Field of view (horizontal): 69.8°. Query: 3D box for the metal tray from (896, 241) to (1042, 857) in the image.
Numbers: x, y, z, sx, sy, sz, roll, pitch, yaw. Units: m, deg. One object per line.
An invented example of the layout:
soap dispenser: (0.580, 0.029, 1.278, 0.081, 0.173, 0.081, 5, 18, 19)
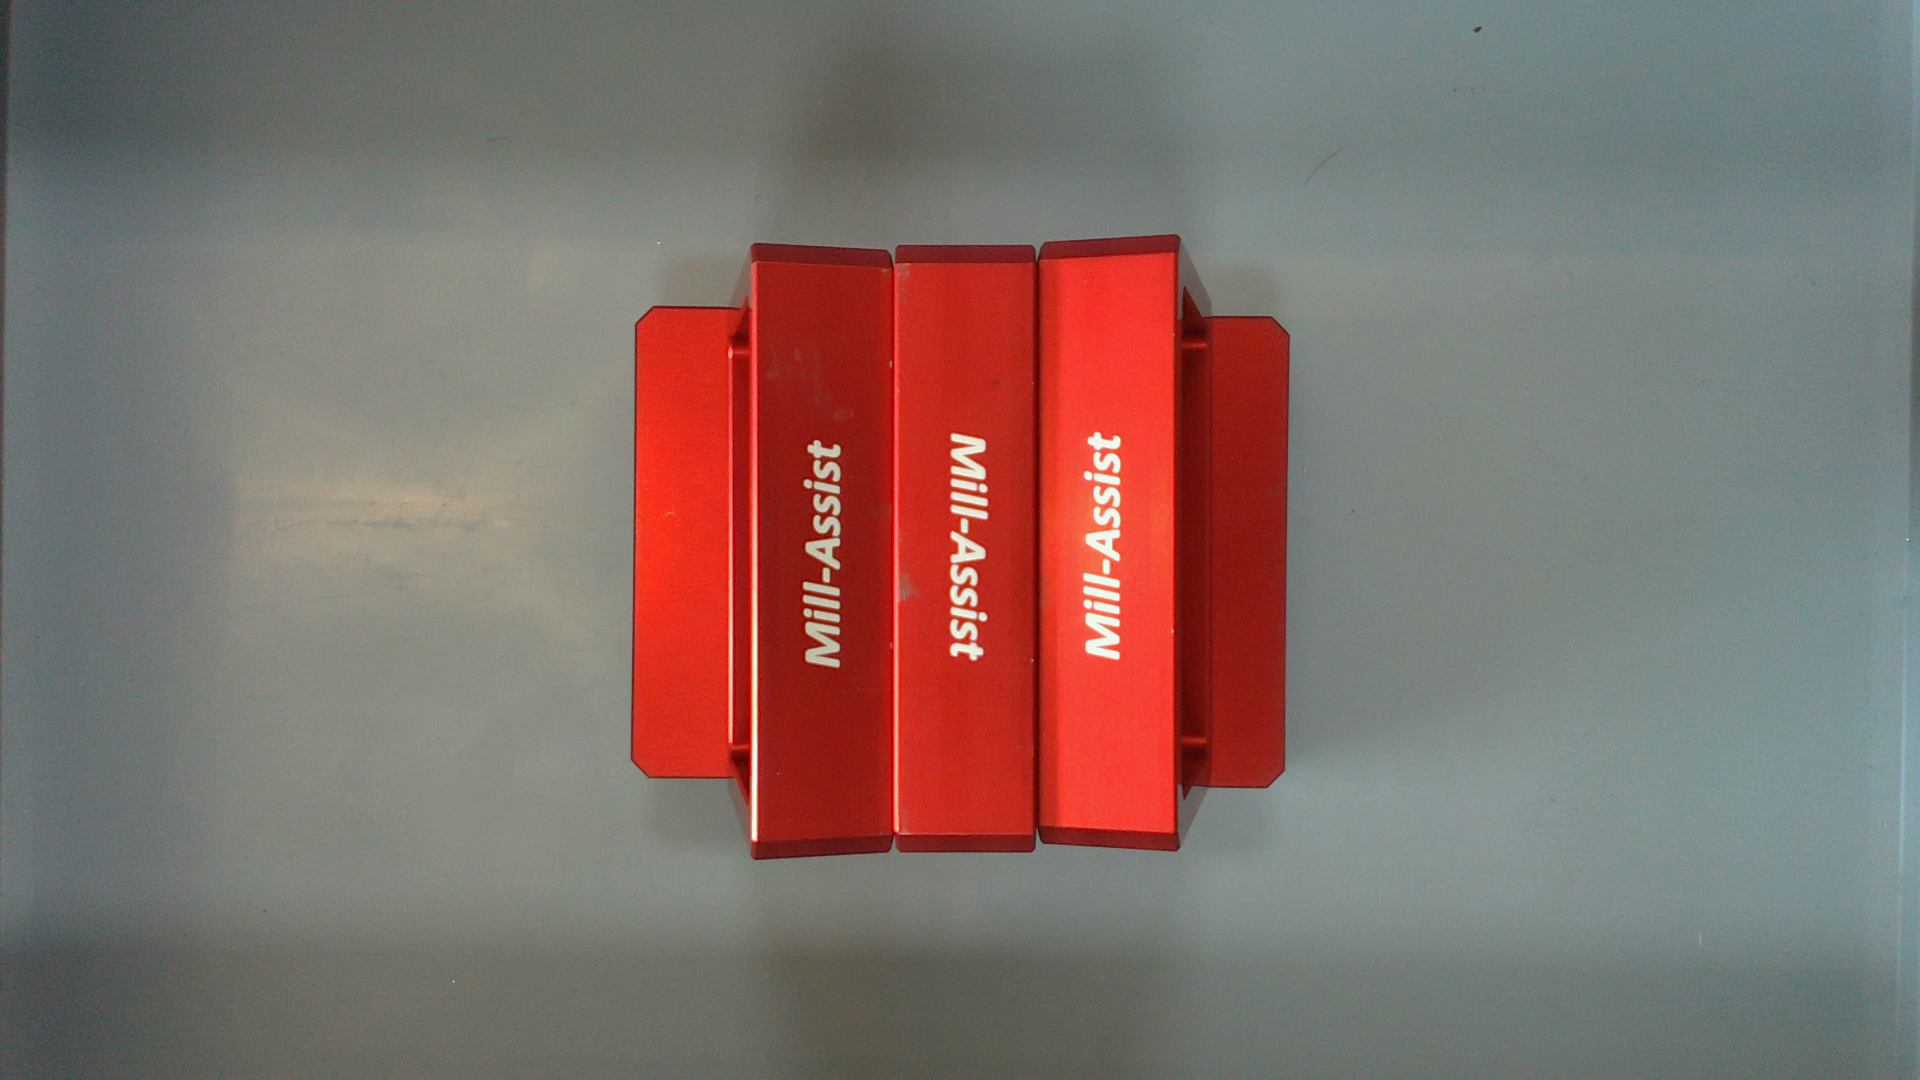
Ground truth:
metal tray: (0.002, 0.003, 0.330, 0.030, 0.090, 0.130, 0, 88, 0)

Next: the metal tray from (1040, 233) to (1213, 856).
metal tray: (0.042, 0.001, 0.329, 0.030, 0.090, 0.130, 0, 90, 14)

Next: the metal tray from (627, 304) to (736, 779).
metal tray: (-0.046, 0.001, 0.391, 0.090, 0.030, 0.130, 0, 90, 0)

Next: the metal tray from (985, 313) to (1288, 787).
metal tray: (0.045, 0.002, 0.392, 0.090, 0.030, 0.130, 0, 90, 0)

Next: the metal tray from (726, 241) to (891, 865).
metal tray: (-0.039, 0.003, 0.329, 0.030, 0.090, 0.130, 0, 90, -12)
